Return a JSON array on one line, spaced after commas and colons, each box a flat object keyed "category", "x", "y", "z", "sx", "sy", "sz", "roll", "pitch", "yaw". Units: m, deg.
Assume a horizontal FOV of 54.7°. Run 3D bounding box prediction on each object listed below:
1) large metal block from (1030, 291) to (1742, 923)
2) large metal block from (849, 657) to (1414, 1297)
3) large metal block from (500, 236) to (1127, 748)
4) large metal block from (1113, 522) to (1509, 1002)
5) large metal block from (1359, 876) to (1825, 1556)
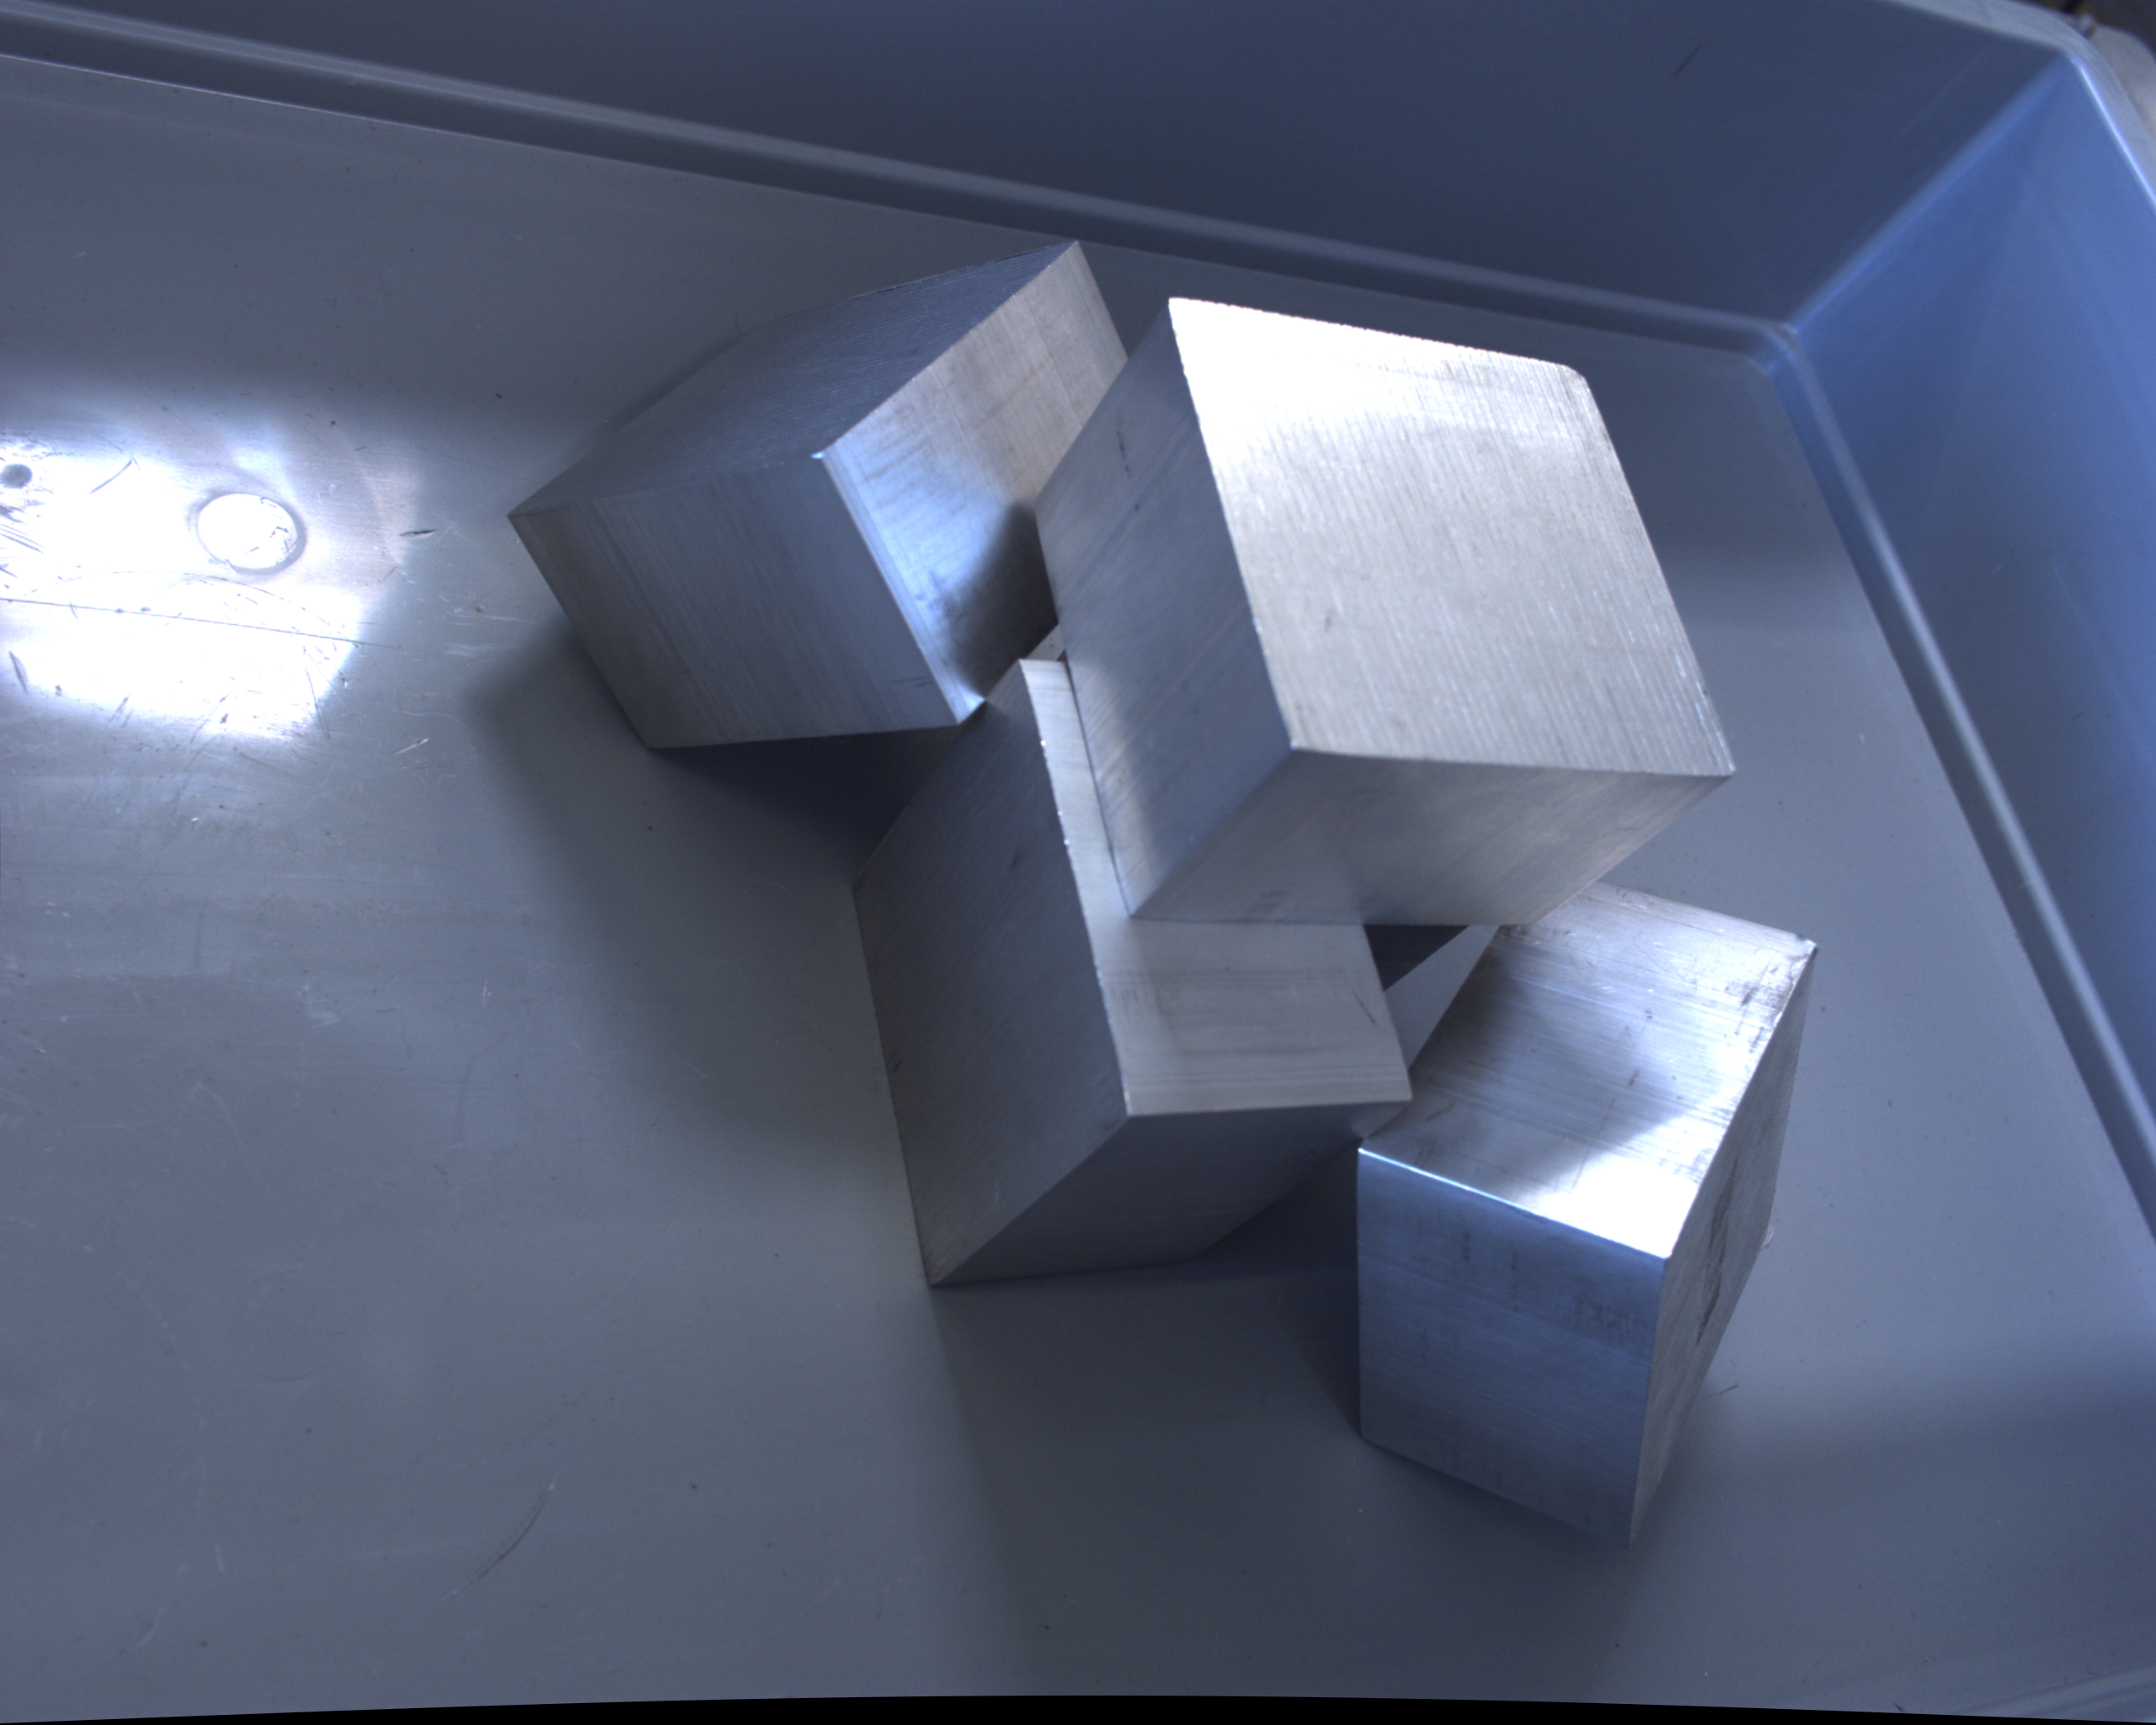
[{"category": "large metal block", "x": 0.046, "y": -0.038, "z": 0.332, "sx": 0.081, "sy": 0.050, "sz": 0.080, "roll": 2, "pitch": 61, "yaw": -27}, {"category": "large metal block", "x": 0.004, "y": 0.021, "z": 0.358, "sx": 0.050, "sy": 0.080, "sz": 0.080, "roll": 1, "pitch": 61, "yaw": -28}, {"category": "large metal block", "x": -0.040, "y": -0.066, "z": 0.377, "sx": 0.080, "sy": 0.080, "sz": 0.050, "roll": -51, "pitch": 127, "yaw": -39}, {"category": "large metal block", "x": 0.041, "y": -0.022, "z": 0.402, "sx": 0.050, "sy": 0.080, "sz": 0.080, "roll": 1, "pitch": 61, "yaw": -28}, {"category": "large metal block", "x": 0.090, "y": 0.059, "z": 0.371, "sx": 0.050, "sy": 0.080, "sz": 0.080, "roll": 18, "pitch": 45, "yaw": 26}]
